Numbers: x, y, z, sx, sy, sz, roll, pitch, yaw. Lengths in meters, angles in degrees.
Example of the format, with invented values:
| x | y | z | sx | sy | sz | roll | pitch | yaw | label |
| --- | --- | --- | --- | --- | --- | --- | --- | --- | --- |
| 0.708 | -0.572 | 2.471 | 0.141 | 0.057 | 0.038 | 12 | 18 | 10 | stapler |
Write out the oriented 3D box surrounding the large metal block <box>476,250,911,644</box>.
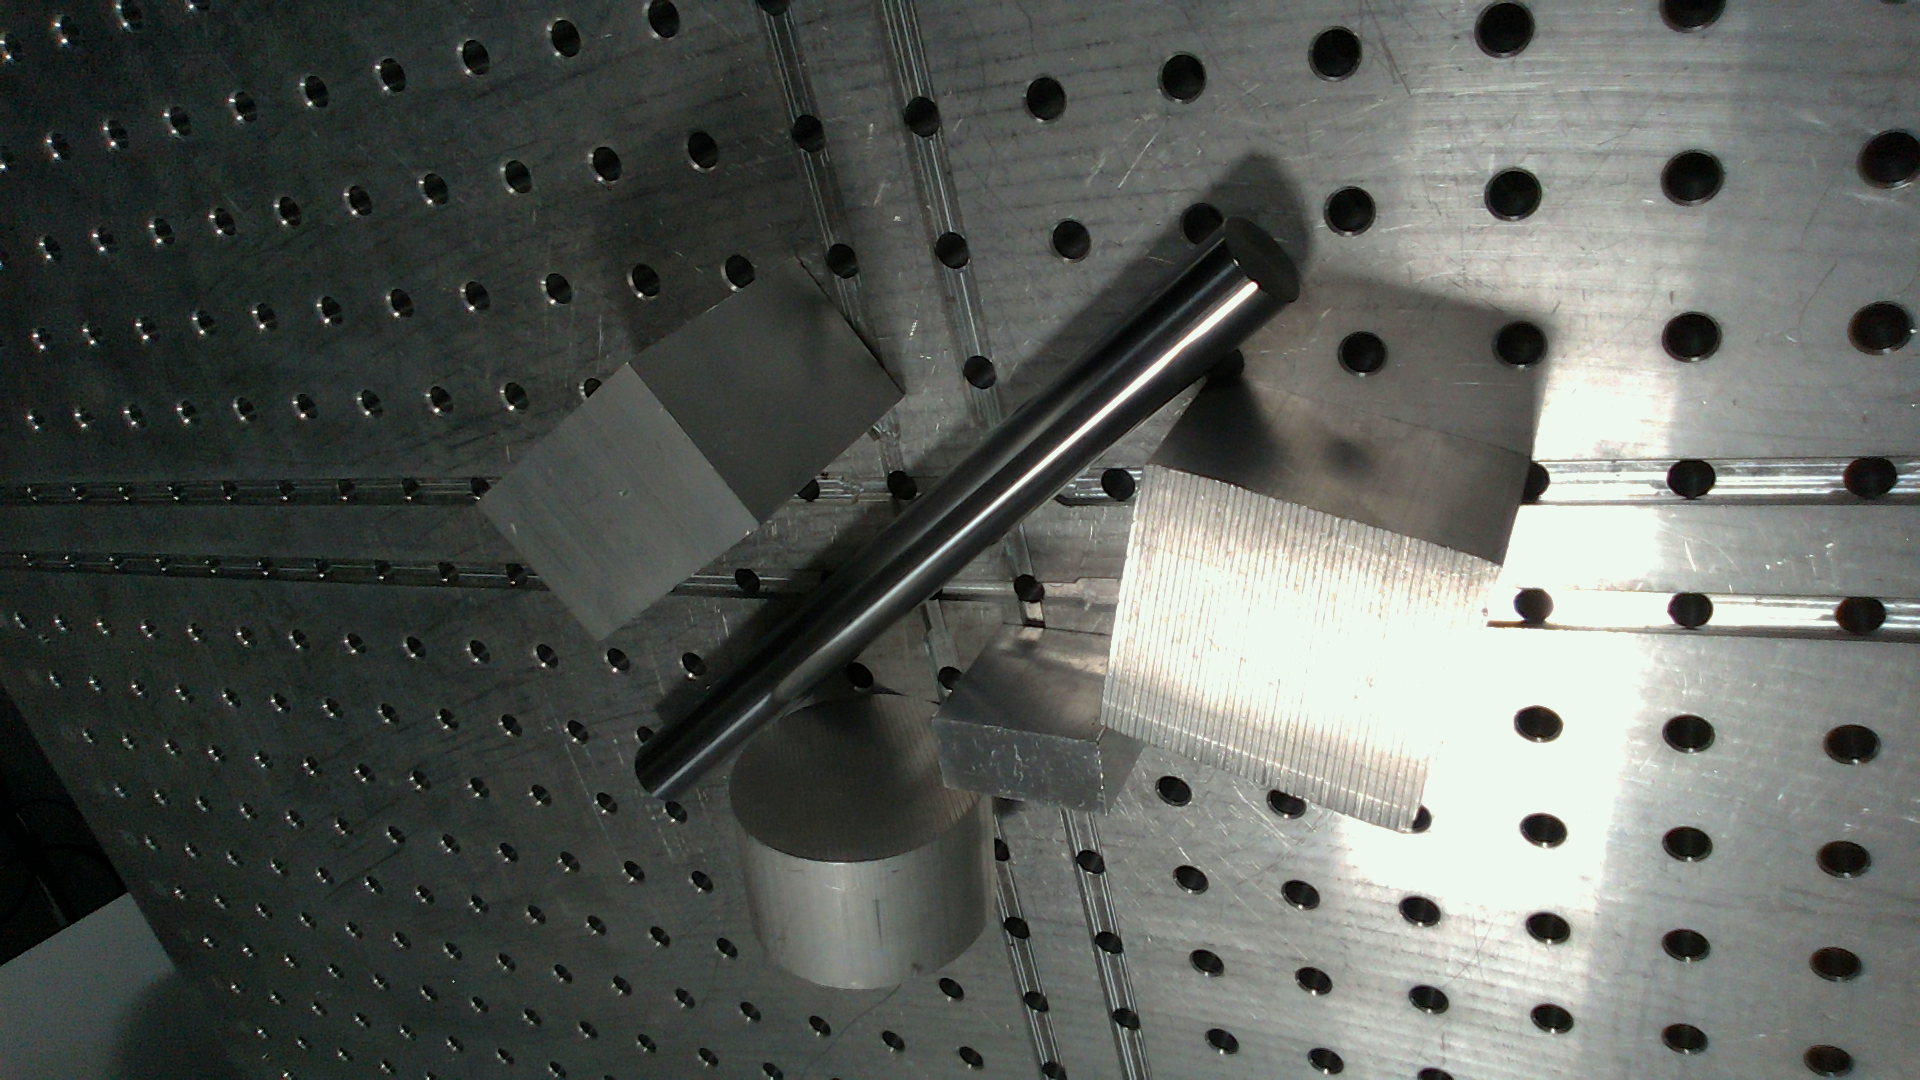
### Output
| x | y | z | sx | sy | sz | roll | pitch | yaw | label |
| --- | --- | --- | --- | --- | --- | --- | --- | --- | --- |
| -0.073 | -0.026 | 0.384 | 0.080 | 0.080 | 0.050 | -32 | 100 | 38 | large metal block |

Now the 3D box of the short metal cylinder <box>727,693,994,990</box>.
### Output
| x | y | z | sx | sy | sz | roll | pitch | yaw | label |
| --- | --- | --- | --- | --- | --- | --- | --- | --- | --- |
| -0.030 | 0.093 | 0.433 | 0.080 | 0.080 | 0.050 | 11 | 123 | 22 | short metal cylinder |

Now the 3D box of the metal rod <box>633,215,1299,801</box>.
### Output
| x | y | z | sx | sy | sz | roll | pitch | yaw | label |
| --- | --- | --- | --- | --- | --- | --- | --- | --- | --- |
| -0.019 | 0.010 | 0.412 | 0.025 | 0.025 | 0.299 | 46 | 129 | -4 | metal rod |

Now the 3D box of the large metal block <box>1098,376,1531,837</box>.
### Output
| x | y | z | sx | sy | sz | roll | pitch | yaw | label |
| --- | --- | --- | --- | --- | --- | --- | --- | --- | --- |
| 0.085 | 0.015 | 0.340 | 0.080 | 0.050 | 0.080 | 18 | 126 | 18 | large metal block |

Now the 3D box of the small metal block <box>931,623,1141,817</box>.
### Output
| x | y | z | sx | sy | sz | roll | pitch | yaw | label |
| --- | --- | --- | --- | --- | --- | --- | --- | --- | --- |
| 0.027 | 0.050 | 0.397 | 0.050 | 0.050 | 0.025 | 5 | 121 | 26 | small metal block |
